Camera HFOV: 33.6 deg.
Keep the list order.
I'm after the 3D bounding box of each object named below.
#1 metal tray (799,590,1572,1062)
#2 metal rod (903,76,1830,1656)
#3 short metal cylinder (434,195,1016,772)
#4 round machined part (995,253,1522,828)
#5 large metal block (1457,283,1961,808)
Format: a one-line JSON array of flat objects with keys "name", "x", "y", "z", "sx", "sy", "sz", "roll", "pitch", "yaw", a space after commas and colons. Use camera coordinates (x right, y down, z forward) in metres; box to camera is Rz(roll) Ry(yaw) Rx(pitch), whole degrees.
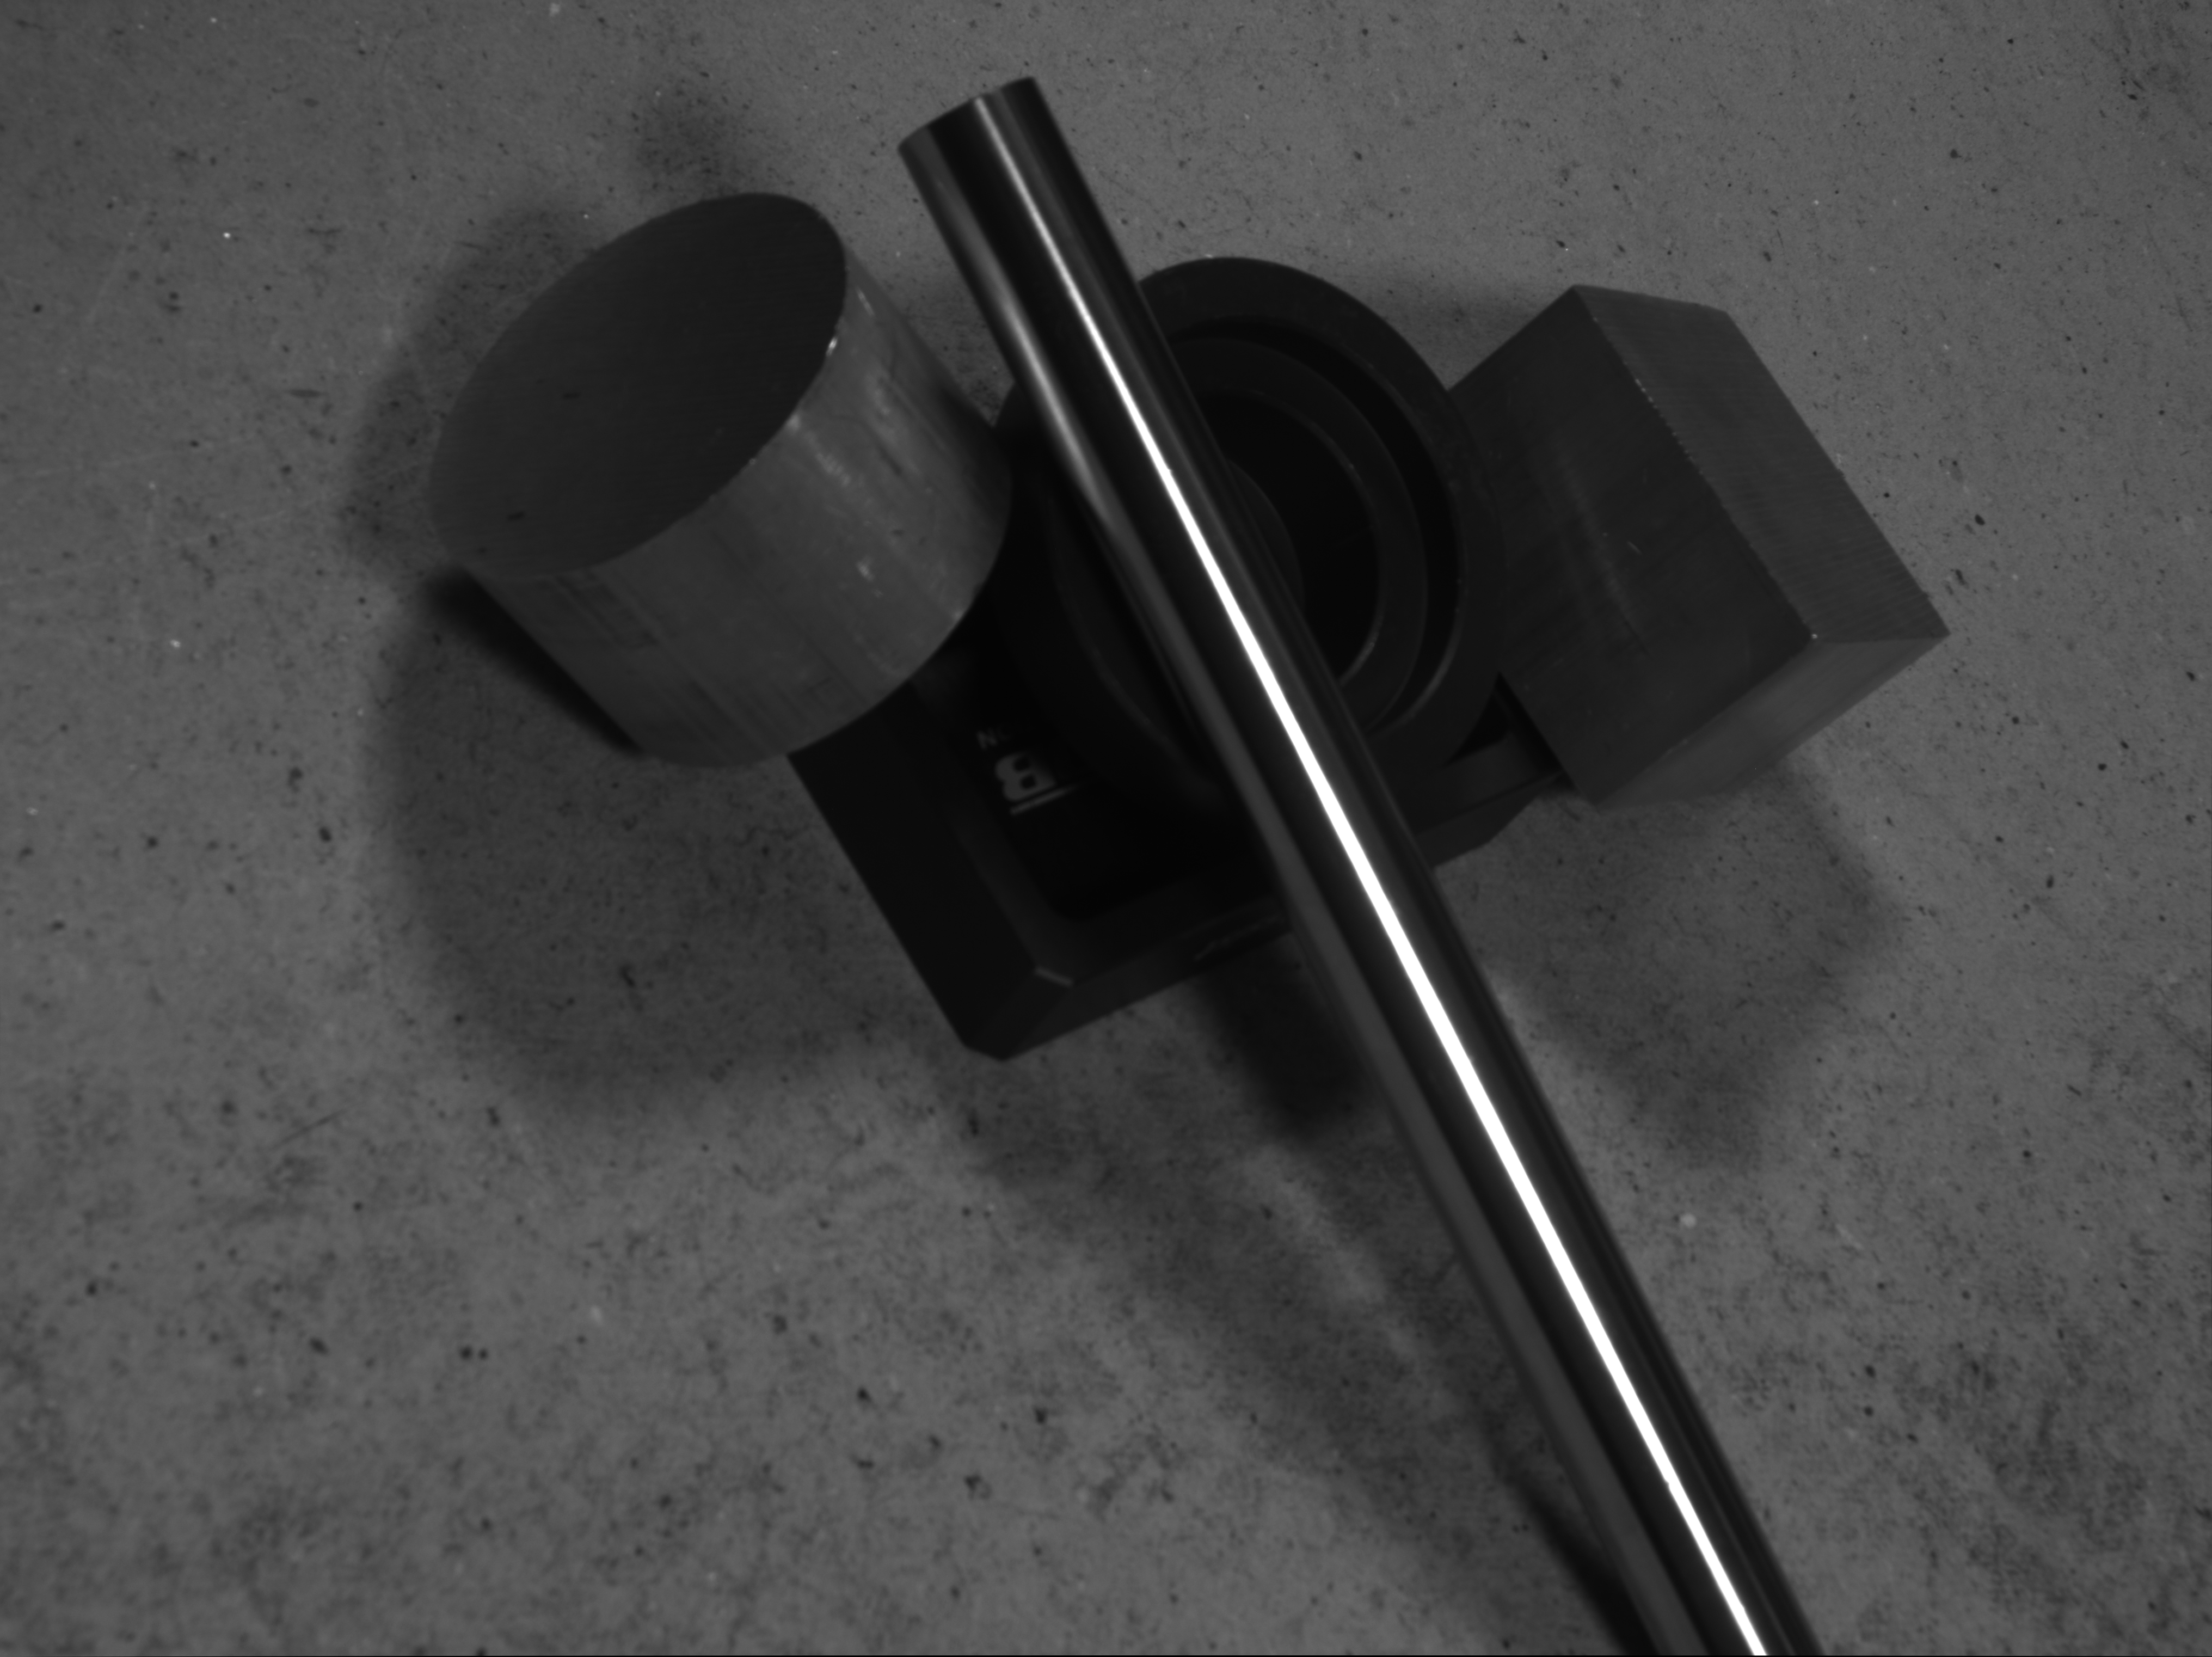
[{"name": "metal tray", "x": 0.011, "y": -0.023, "z": 0.657, "sx": 0.130, "sy": 0.030, "sz": 0.090, "roll": -22, "pitch": 74, "yaw": -36}, {"name": "metal rod", "x": 0.046, "y": 0.019, "z": 0.597, "sx": 0.025, "sy": 0.025, "sz": 0.300, "roll": -30, "pitch": 95, "yaw": -38}, {"name": "short metal cylinder", "x": -0.062, "y": -0.056, "z": 0.598, "sx": 0.050, "sy": 0.080, "sz": 0.080, "roll": 49, "pitch": 40, "yaw": -42}, {"name": "round machined part", "x": 0.021, "y": -0.047, "z": 0.638, "sx": 0.098, "sy": 0.042, "sz": 0.098, "roll": 9, "pitch": 72, "yaw": -30}, {"name": "large metal block", "x": 0.107, "y": -0.053, "z": 0.692, "sx": 0.080, "sy": 0.050, "sz": 0.080, "roll": 58, "pitch": 27, "yaw": 13}]
